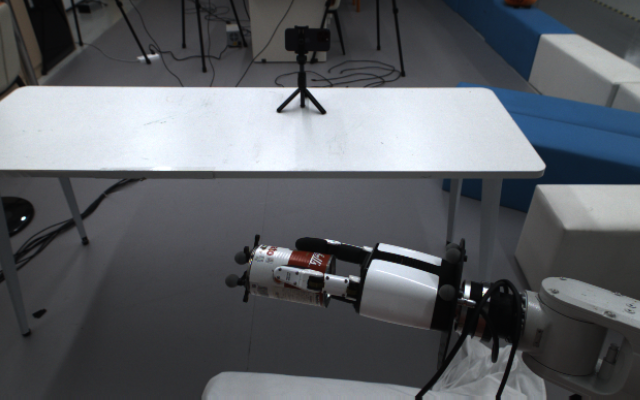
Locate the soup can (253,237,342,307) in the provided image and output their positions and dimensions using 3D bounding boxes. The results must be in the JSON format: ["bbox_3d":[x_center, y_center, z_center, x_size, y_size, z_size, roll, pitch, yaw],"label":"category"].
[{"bbox_3d":[-0.033,0.097,0.623,0.101,0.067,0.067,7,35,10],"label":"soup can"}]
